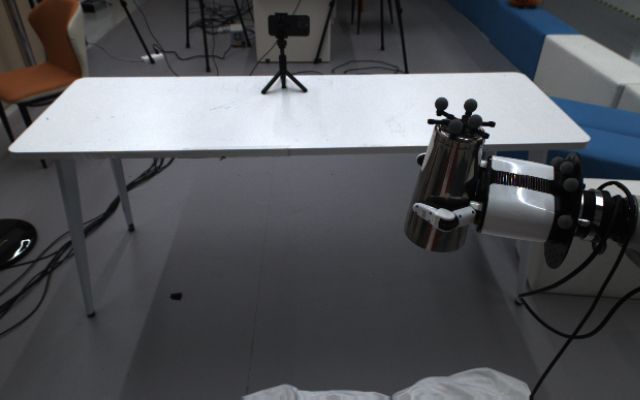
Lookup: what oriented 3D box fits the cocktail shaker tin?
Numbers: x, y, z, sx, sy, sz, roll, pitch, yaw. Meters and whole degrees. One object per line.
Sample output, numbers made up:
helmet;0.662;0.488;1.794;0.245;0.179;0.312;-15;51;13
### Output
cocktail shaker tin;0.178;-0.024;0.675;0.093;0.170;0.093;3;34;-2
